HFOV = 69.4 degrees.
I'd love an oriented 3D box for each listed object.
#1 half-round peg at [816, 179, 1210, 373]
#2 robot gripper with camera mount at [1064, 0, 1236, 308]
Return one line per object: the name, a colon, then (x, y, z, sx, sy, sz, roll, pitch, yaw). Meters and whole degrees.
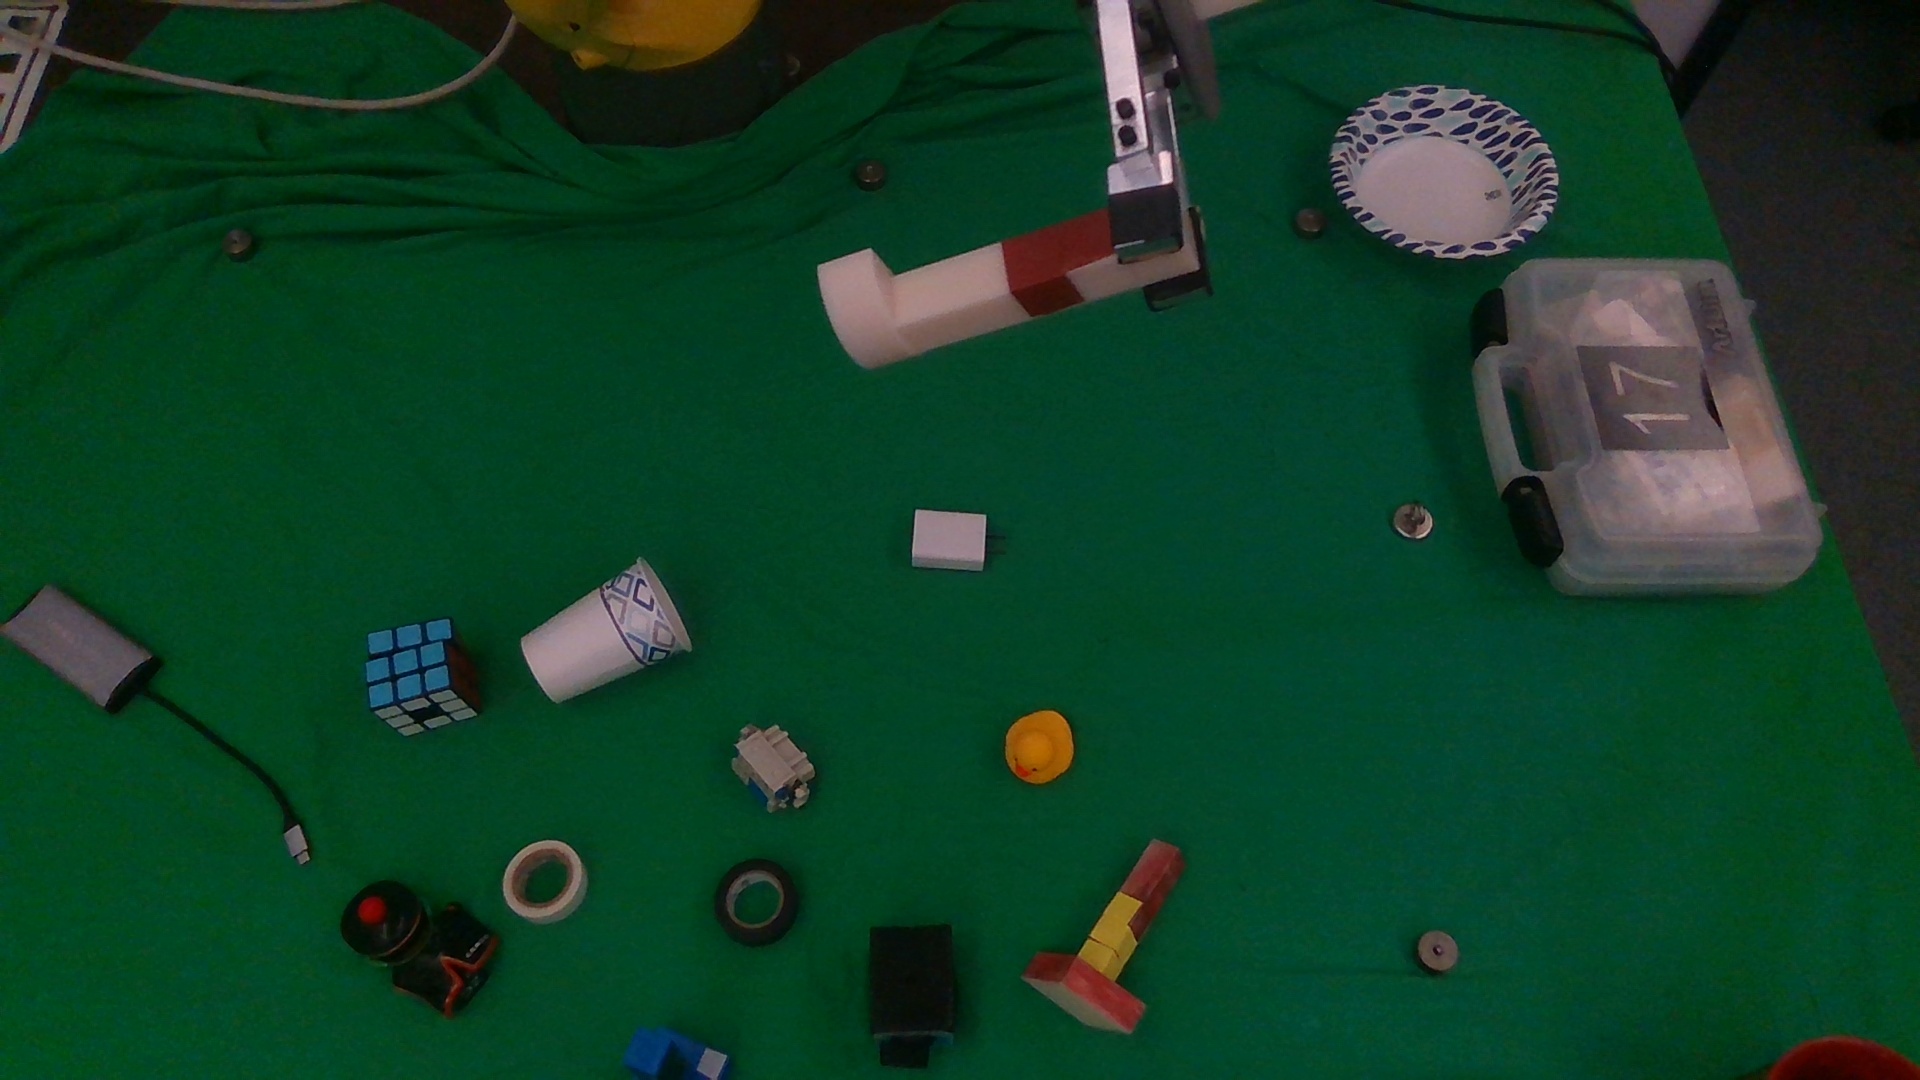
half-round peg: (0.019, -0.086, 0.448, 0.122, 0.054, 0.031, -15, 69, 18)
robot gripper with camera mount: (0.130, -0.171, 0.431, 0.194, 0.118, 0.158, -13, 66, 20)
